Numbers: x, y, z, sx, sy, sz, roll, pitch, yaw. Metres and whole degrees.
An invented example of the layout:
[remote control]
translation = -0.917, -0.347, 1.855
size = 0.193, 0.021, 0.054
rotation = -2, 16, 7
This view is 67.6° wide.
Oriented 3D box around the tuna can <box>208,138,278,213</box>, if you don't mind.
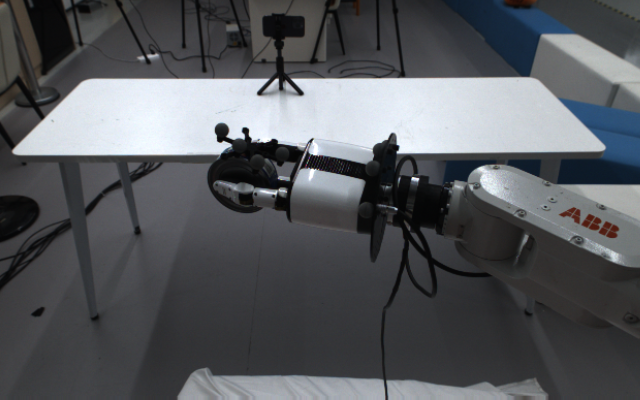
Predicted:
[tuna can]
translation = -0.098, -0.026, 0.626
size = 0.085, 0.085, 0.034
rotation = 9, 35, 10
